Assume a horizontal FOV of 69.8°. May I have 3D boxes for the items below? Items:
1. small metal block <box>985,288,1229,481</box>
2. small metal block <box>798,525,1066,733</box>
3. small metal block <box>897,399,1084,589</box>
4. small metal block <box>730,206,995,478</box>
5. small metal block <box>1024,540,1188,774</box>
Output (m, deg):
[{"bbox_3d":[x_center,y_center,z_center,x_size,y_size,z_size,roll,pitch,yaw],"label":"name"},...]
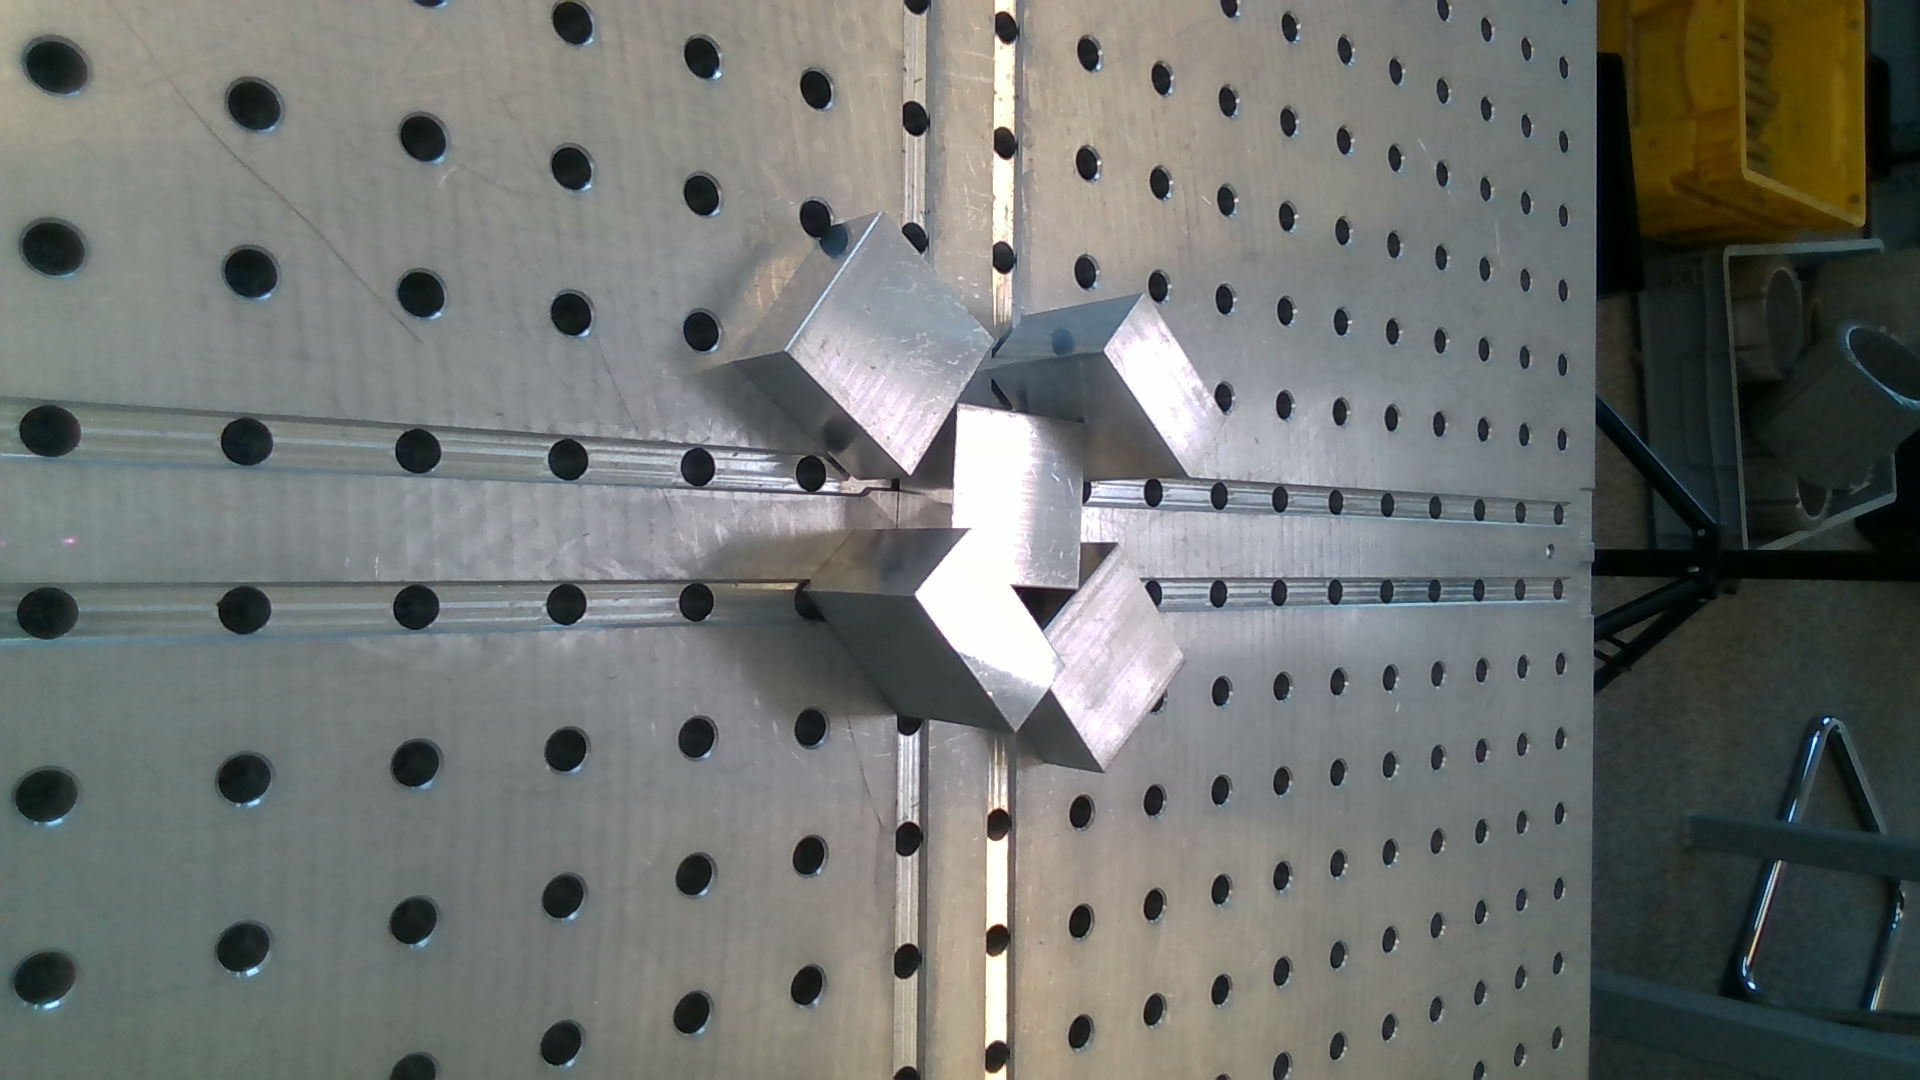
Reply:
[{"bbox_3d":[0.044,-0.045,0.414,0.050,0.050,0.025,51,60,-27],"label":"small metal block"},{"bbox_3d":[-0.008,0.023,0.371,0.025,0.050,0.050,-50,120,-29],"label":"small metal block"},{"bbox_3d":[0.009,-0.012,0.401,0.050,0.025,0.050,5,86,-41],"label":"small metal block"},{"bbox_3d":[-0.025,-0.052,0.372,0.050,0.025,0.050,46,63,-31],"label":"small metal block"},{"bbox_3d":[0.038,0.035,0.426,0.050,0.025,0.050,-48,118,-30],"label":"small metal block"}]
